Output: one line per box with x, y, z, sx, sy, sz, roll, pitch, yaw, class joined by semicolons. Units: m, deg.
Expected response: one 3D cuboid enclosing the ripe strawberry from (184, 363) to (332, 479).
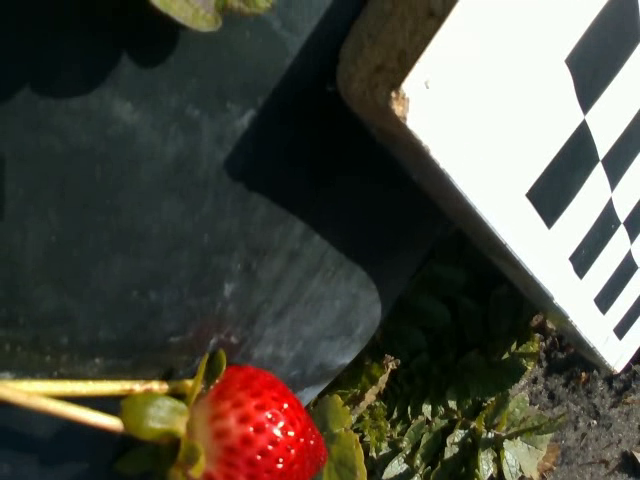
-0.013;0.047;0.137;0.044;0.040;0.036;11;20;-35;ripe strawberry
